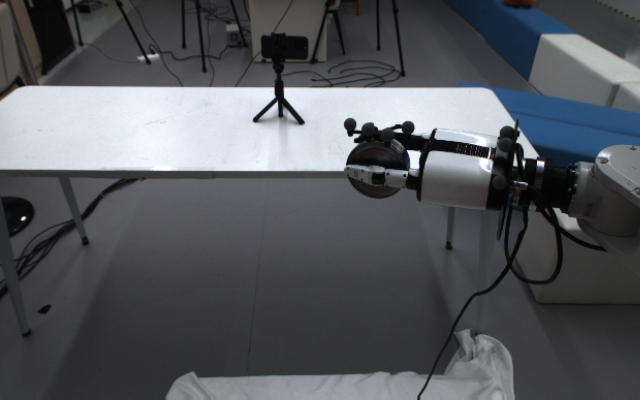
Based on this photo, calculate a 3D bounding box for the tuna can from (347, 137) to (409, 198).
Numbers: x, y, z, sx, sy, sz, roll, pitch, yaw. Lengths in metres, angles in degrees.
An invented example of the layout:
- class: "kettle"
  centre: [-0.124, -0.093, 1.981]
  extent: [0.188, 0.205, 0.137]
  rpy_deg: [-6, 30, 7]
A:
- class: "tuna can"
  centre: [0.083, -0.049, 0.679]
  extent: [0.085, 0.085, 0.034]
  rpy_deg: [13, 29, 16]
